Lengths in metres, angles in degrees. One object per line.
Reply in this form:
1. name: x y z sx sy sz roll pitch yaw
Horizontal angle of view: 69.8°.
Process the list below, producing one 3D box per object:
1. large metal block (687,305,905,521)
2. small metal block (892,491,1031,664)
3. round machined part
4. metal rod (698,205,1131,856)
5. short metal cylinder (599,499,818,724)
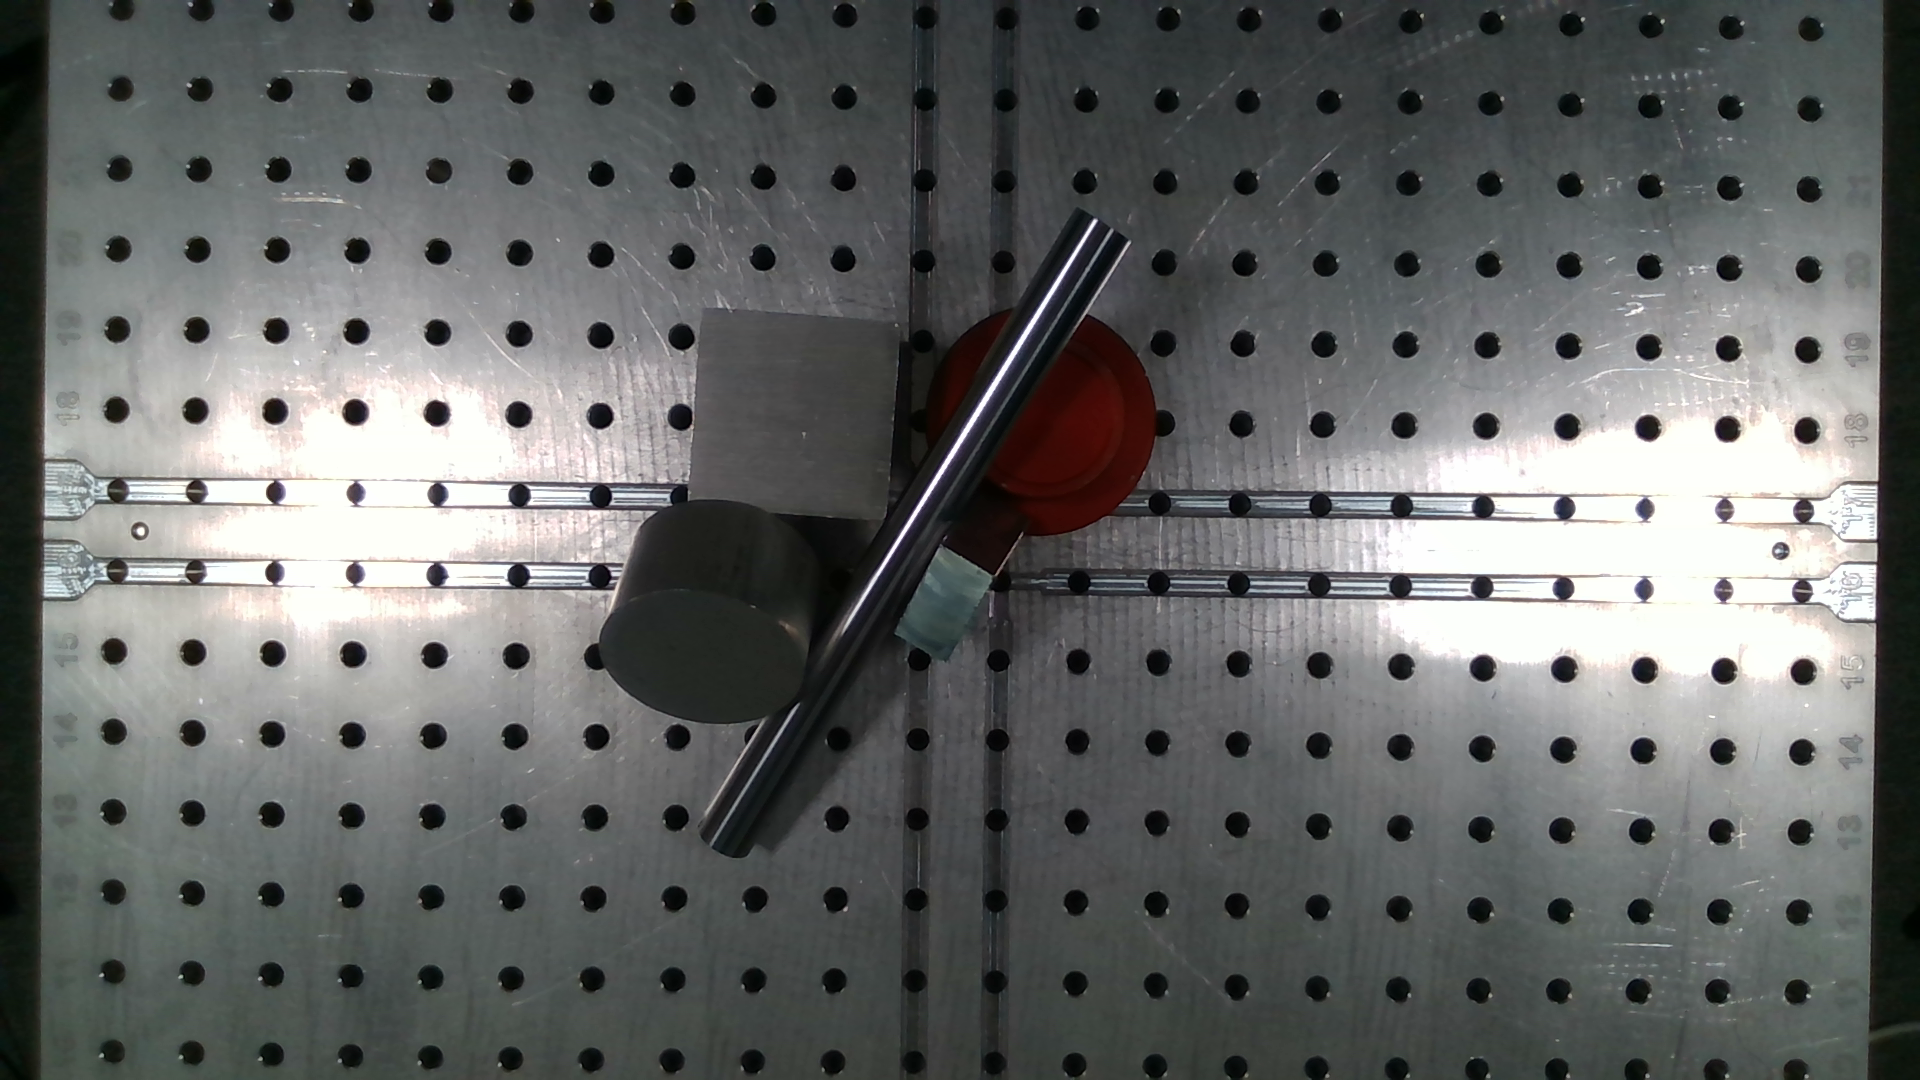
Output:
1. large metal block: -0.066 -0.051 0.574 0.080 0.050 0.080 5 90 0
2. small metal block: 0.001 0.014 0.567 0.025 0.050 0.050 30 124 3
3. round machined part: 0.034 -0.051 0.580 0.098 0.042 0.098 0 90 0
4. metal rod: -0.023 0.003 0.557 0.025 0.025 0.300 32 103 0
5. short metal cylinder: -0.099 0.030 0.555 0.080 0.050 0.080 2 135 2
